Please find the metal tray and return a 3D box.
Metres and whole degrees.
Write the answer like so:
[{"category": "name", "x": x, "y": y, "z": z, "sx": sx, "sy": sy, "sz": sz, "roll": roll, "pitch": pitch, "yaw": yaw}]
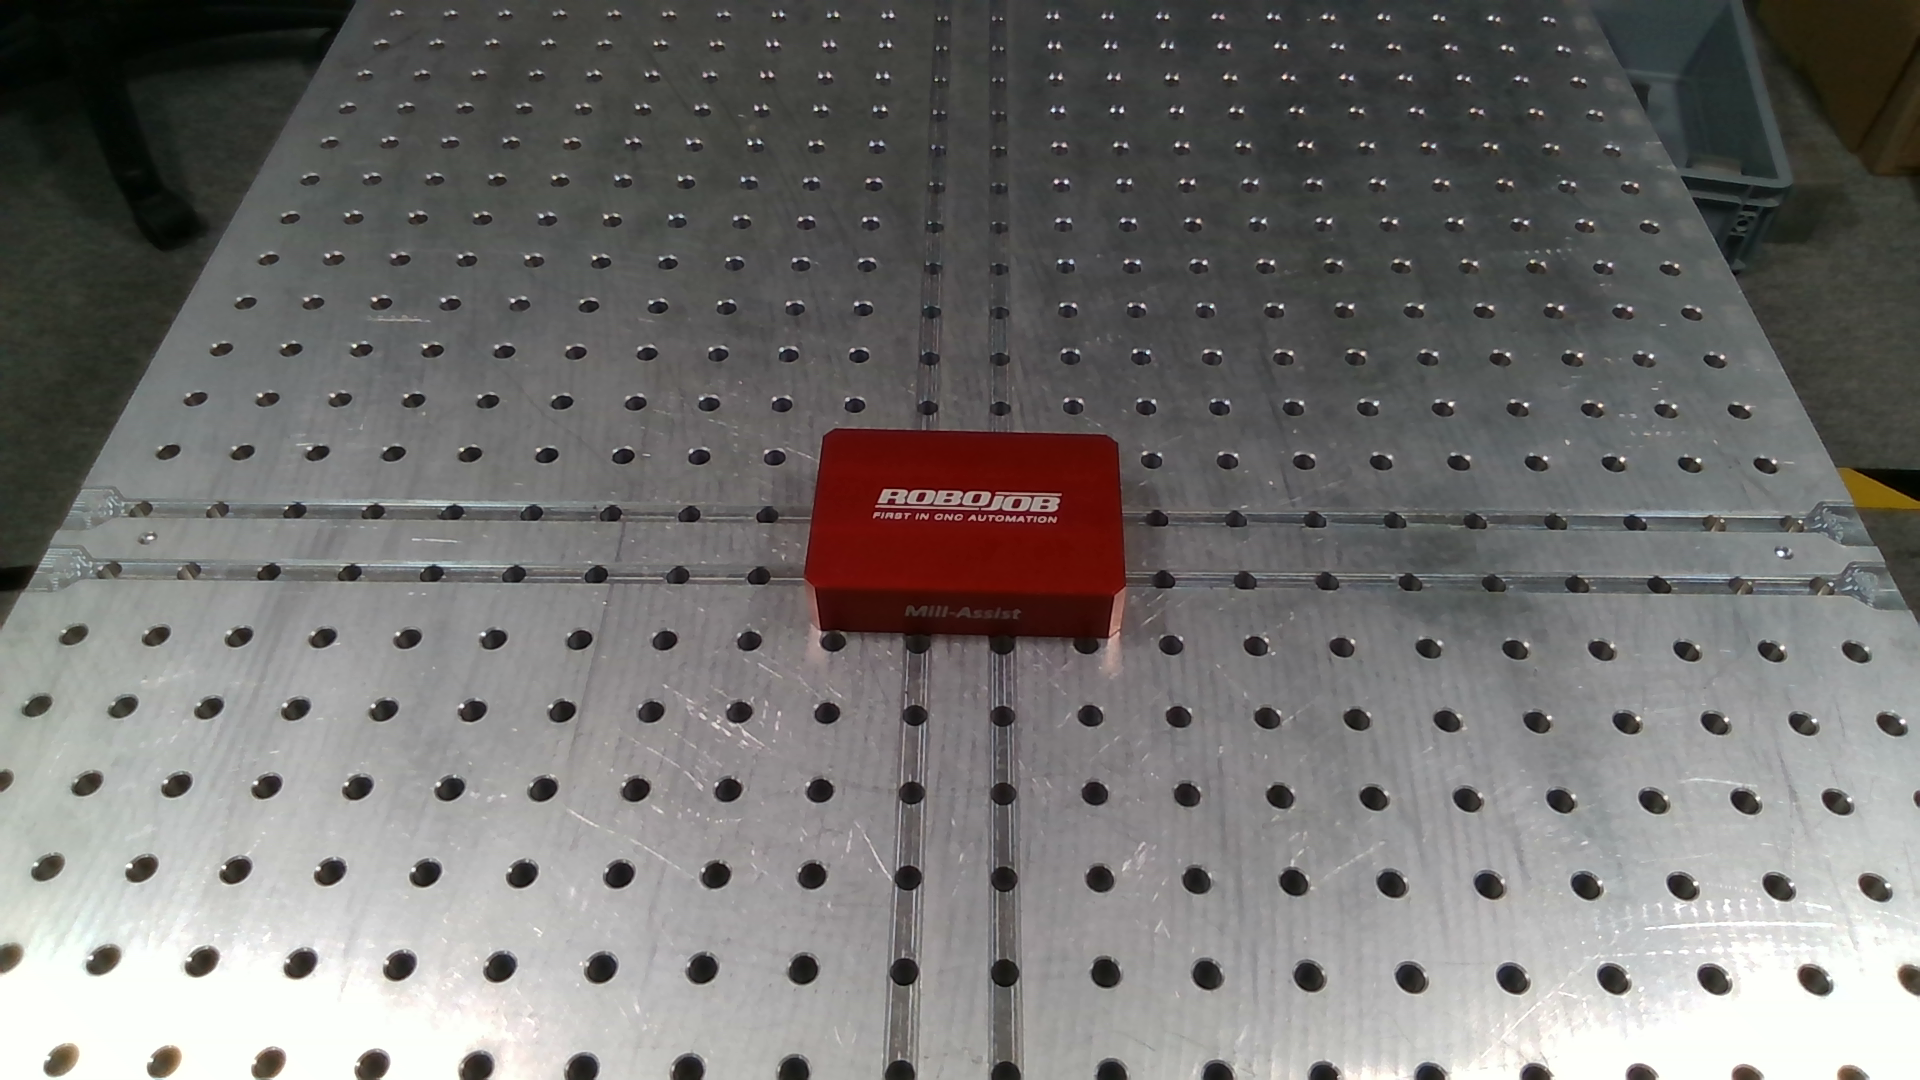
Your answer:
[{"category": "metal tray", "x": 0.003, "y": -0.005, "z": 0.590, "sx": 0.130, "sy": 0.030, "sz": 0.090, "roll": 1, "pitch": 50, "yaw": 1}]
